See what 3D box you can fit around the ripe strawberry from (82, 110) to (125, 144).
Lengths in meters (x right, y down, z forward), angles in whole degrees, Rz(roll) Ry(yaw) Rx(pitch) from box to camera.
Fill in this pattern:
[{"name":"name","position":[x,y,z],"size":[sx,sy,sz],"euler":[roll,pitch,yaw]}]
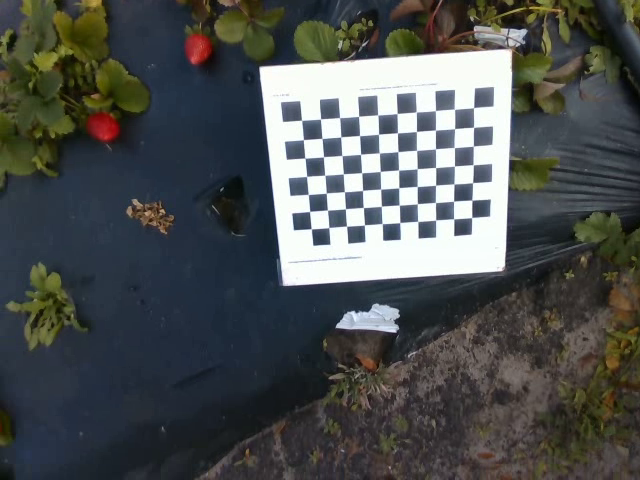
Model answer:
[{"name":"ripe strawberry","position":[-0.275,-0.136,0.903],"size":[0.050,0.046,0.050],"euler":[-6,39,-8]}]

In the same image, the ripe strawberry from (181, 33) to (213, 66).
[{"name":"ripe strawberry","position":[-0.151,-0.231,0.884],"size":[0.044,0.052,0.042],"euler":[16,-27,-16]}]
